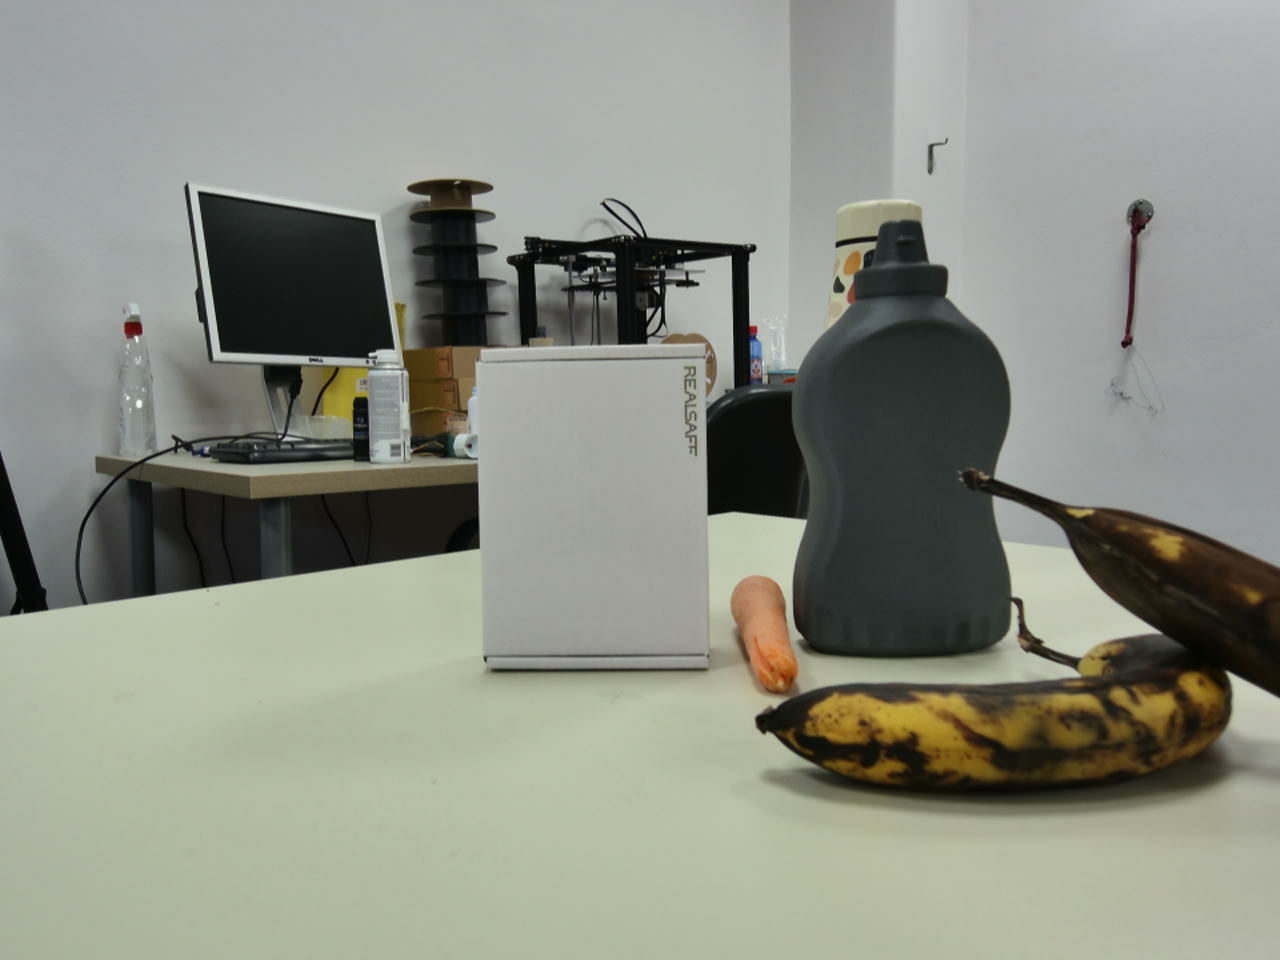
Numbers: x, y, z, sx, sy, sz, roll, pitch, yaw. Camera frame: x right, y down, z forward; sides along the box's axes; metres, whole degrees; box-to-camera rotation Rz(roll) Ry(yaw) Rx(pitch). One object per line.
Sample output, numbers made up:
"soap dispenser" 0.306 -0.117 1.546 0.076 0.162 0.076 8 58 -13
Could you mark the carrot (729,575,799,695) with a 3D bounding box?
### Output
"carrot" 0.059 0.069 0.479 0.030 0.032 0.136 1 4 3
